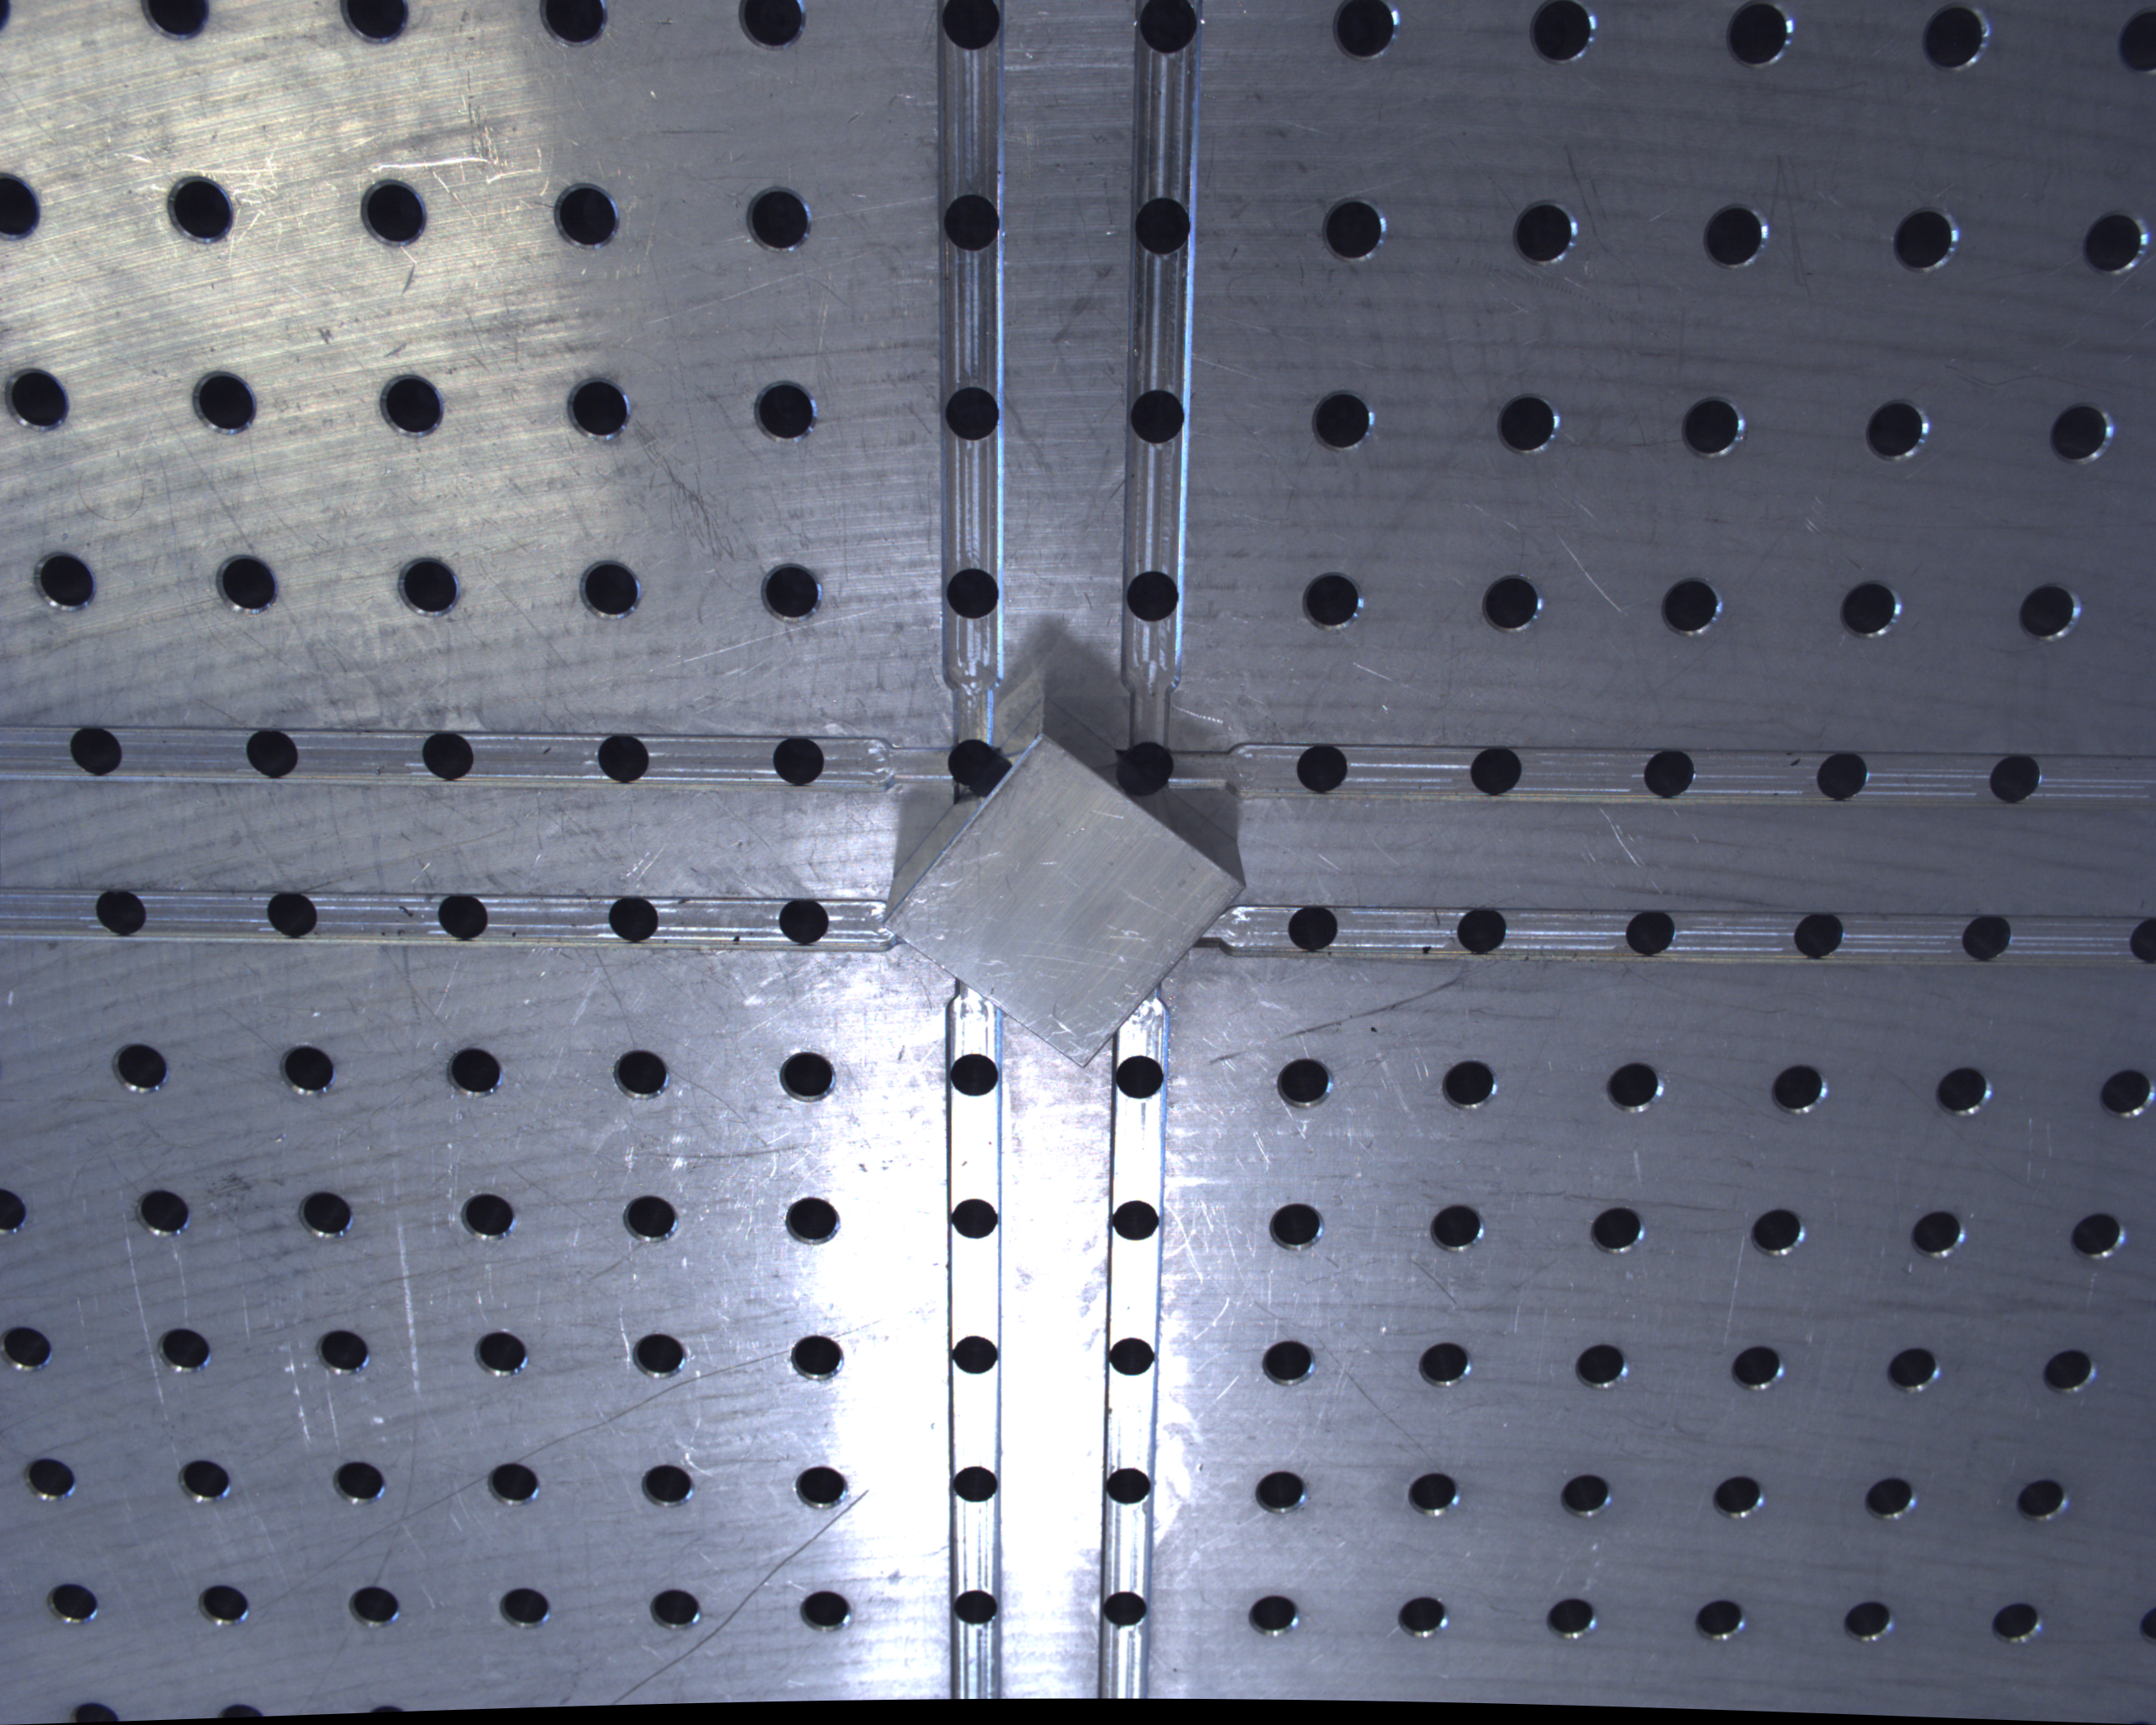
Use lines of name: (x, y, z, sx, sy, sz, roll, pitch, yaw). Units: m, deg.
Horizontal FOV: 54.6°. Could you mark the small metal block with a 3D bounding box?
small metal block: (-0.003, 0.004, 0.415, 0.050, 0.025, 0.050, 37, 106, -13)
